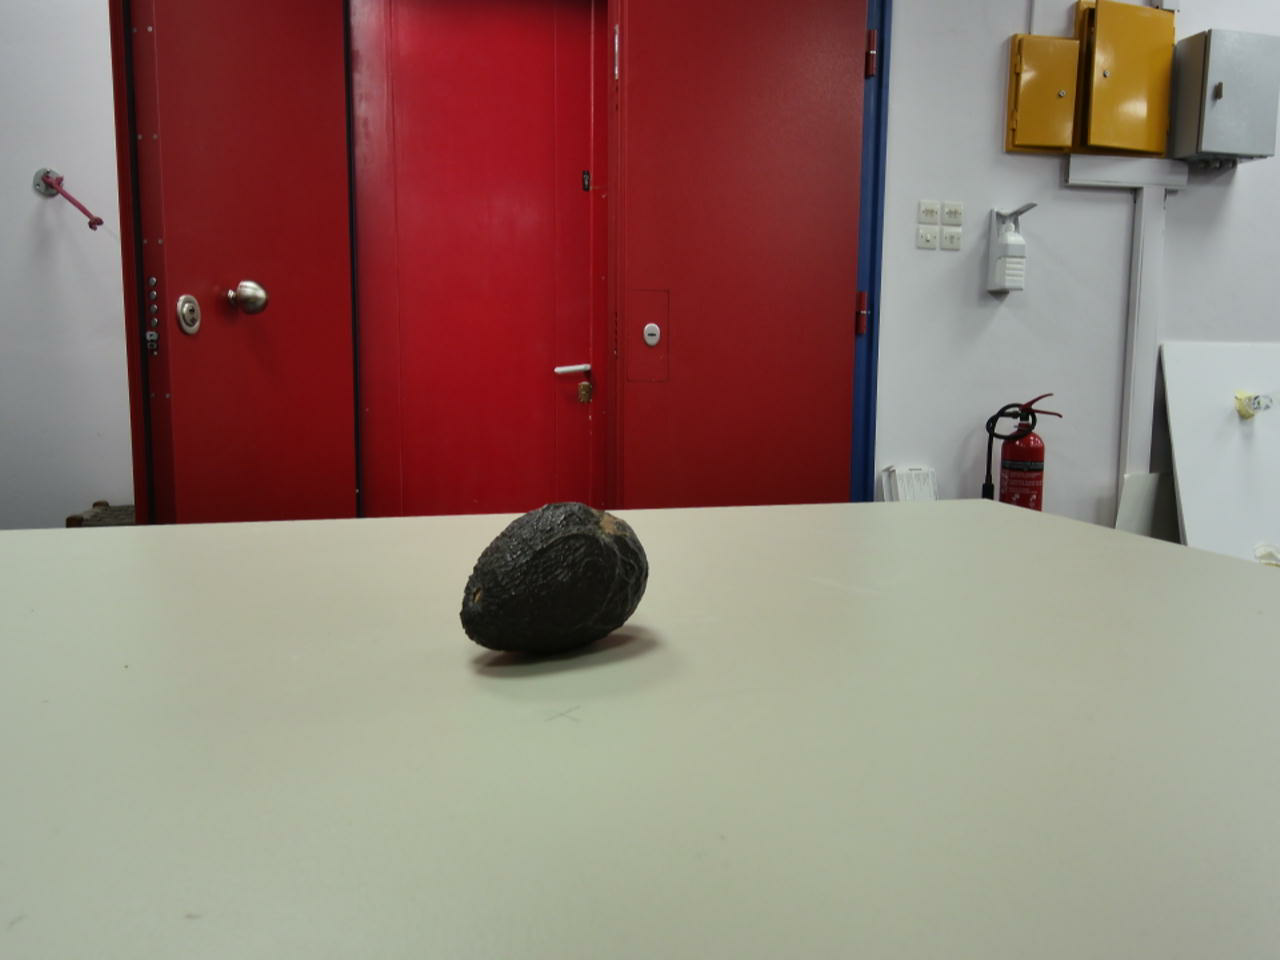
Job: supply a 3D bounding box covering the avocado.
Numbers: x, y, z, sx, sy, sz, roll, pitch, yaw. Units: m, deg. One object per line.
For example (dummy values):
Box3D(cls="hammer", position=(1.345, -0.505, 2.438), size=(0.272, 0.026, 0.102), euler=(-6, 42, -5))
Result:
Box3D(cls="avocado", position=(-0.037, 0.041, 0.425), size=(0.092, 0.062, 0.062), euler=(-4, 6, -37))
